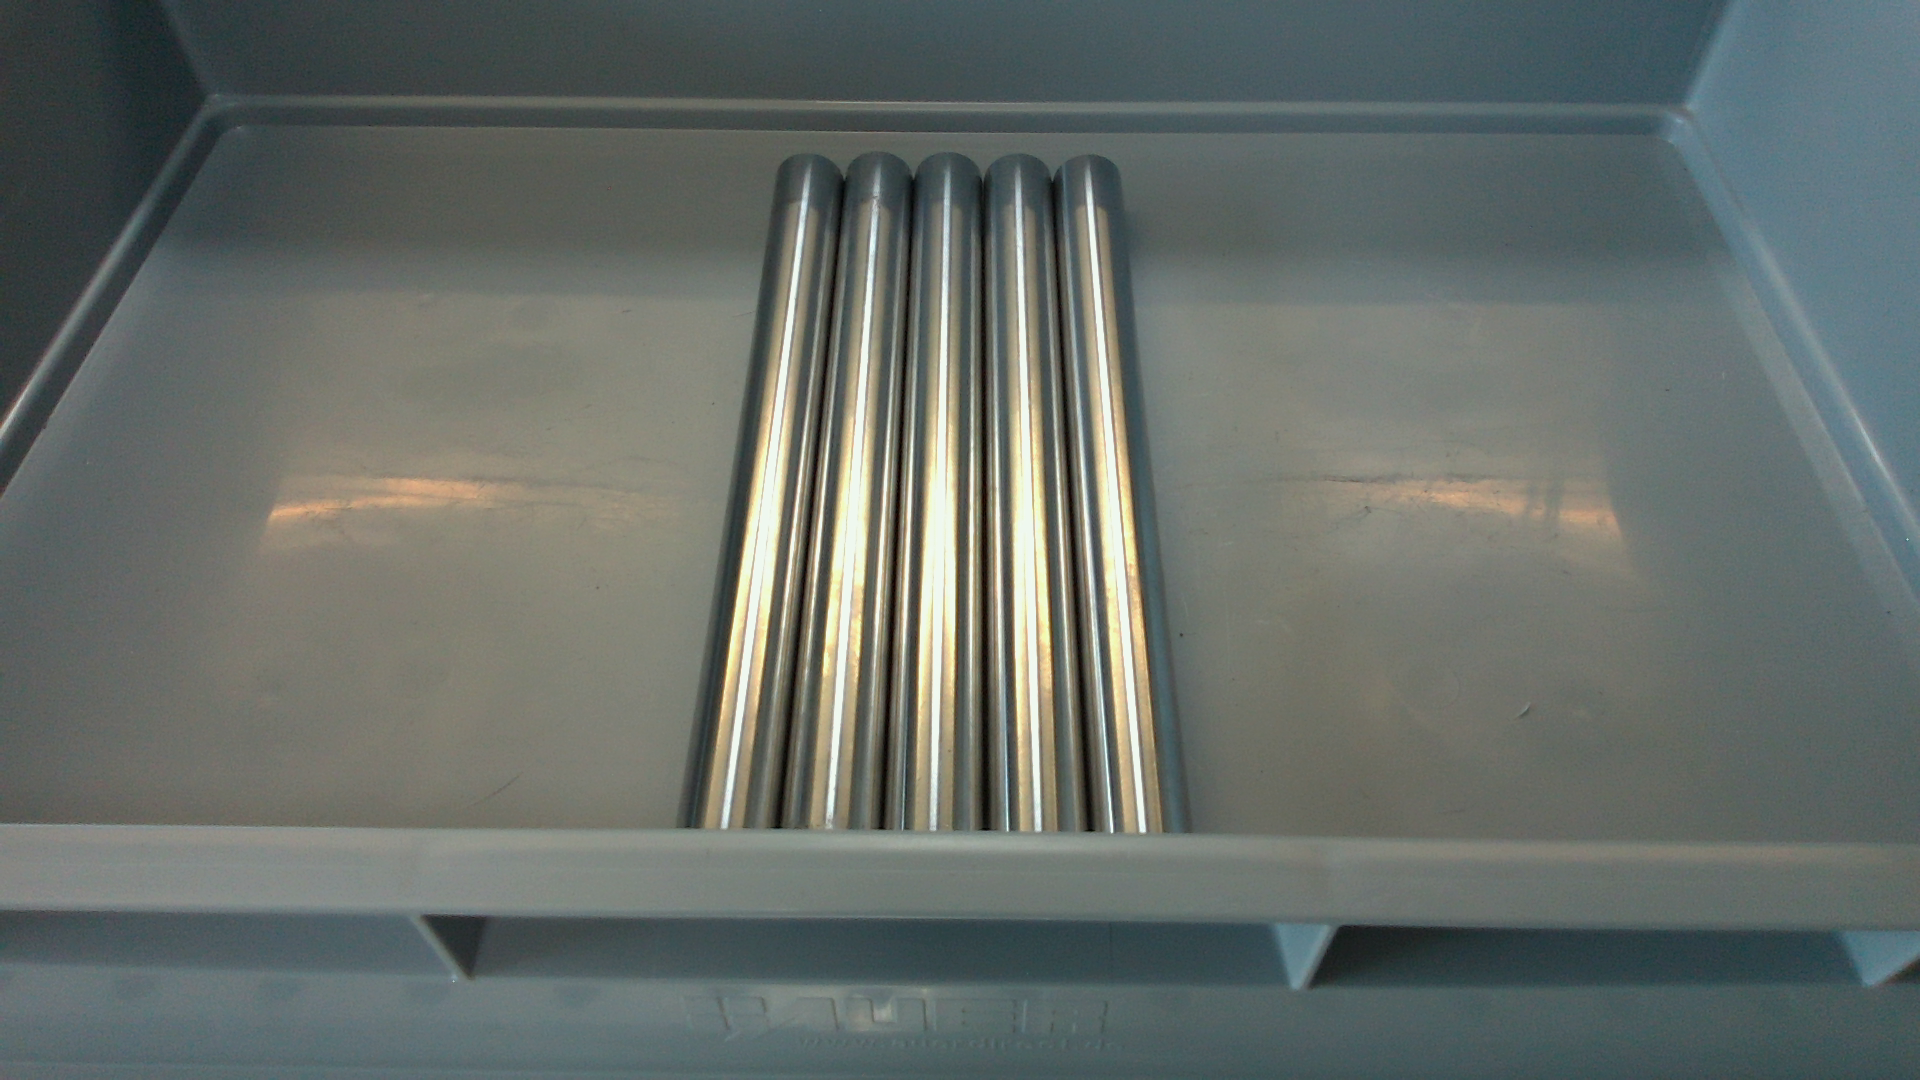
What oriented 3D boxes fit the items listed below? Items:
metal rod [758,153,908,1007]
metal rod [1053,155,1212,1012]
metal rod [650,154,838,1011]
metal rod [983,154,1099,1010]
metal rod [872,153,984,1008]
[{"bbox_3d":[-0.032,-0.015,0.403,0.025,0.025,0.300,0,50,0],"label":"metal rod"},{"bbox_3d":[0.044,-0.014,0.403,0.025,0.025,0.300,0,50,0],"label":"metal rod"},{"bbox_3d":[-0.055,-0.015,0.403,0.025,0.025,0.300,0,50,0],"label":"metal rod"},{"bbox_3d":[0.019,-0.015,0.403,0.025,0.025,0.300,0,50,0],"label":"metal rod"},{"bbox_3d":[-0.006,-0.015,0.403,0.025,0.025,0.300,0,50,0],"label":"metal rod"}]
